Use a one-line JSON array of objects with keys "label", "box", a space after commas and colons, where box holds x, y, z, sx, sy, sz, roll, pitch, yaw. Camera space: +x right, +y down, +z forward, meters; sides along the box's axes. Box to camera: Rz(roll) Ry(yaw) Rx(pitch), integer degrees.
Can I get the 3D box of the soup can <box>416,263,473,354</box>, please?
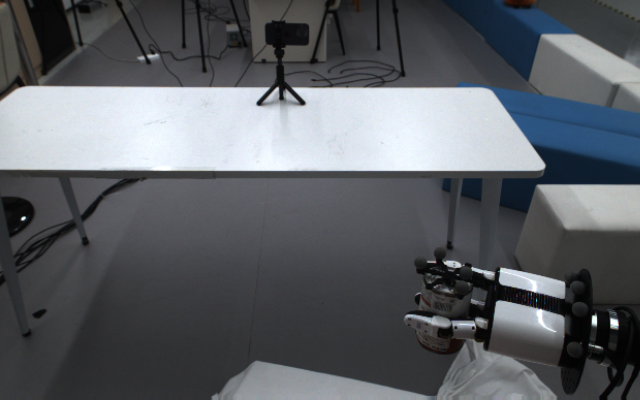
[{"label": "soup can", "box": [0.173, 0.151, 0.668, 0.067, 0.101, 0.067, 1, 26, 0]}]
